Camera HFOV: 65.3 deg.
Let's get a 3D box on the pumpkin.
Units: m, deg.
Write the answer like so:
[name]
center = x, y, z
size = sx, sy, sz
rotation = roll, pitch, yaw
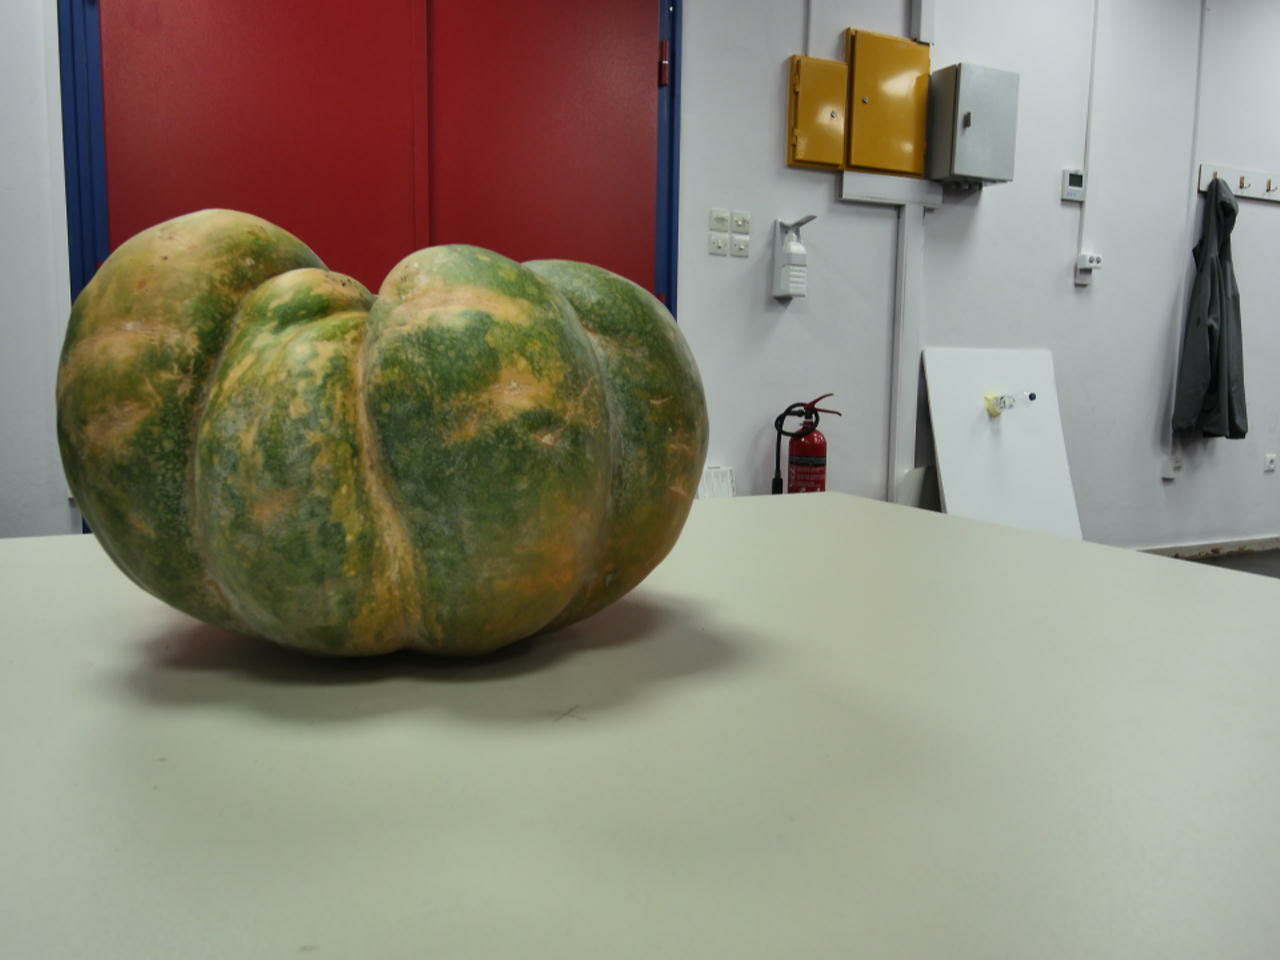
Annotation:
[pumpkin]
center = -0.105, -0.018, 0.432
size = 0.270, 0.173, 0.237
rotation = 1, 4, 11
